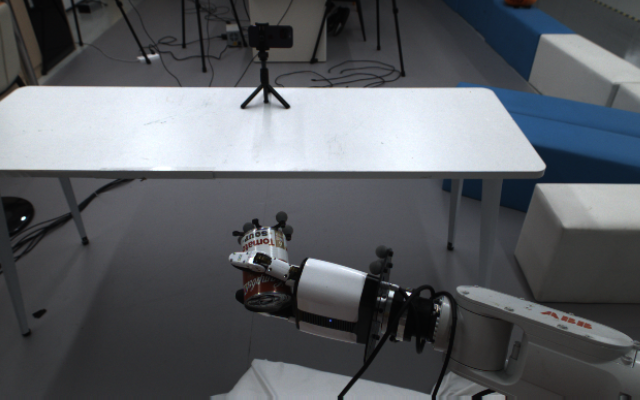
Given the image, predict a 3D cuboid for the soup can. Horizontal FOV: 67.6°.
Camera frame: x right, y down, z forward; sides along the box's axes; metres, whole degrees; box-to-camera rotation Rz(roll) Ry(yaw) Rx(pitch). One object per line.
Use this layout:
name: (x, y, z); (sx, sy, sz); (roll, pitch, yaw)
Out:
soup can: (-0.074, 0.099, 0.679); (0.067, 0.067, 0.101); (-5, 57, -9)
